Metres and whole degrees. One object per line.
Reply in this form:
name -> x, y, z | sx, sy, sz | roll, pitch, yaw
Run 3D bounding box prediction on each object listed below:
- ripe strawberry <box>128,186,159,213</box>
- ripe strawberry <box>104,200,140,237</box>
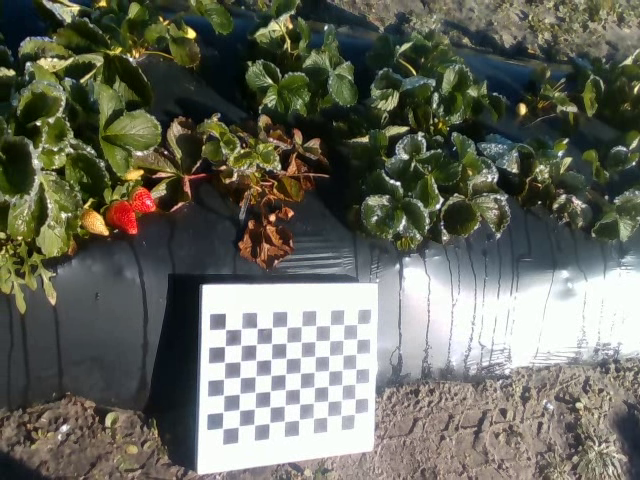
ripe strawberry -> -0.230, -0.051, 0.815 | 0.041, 0.036, 0.030 | 30, -11, -17
ripe strawberry -> -0.244, -0.023, 0.789 | 0.036, 0.051, 0.040 | -40, -21, -19
